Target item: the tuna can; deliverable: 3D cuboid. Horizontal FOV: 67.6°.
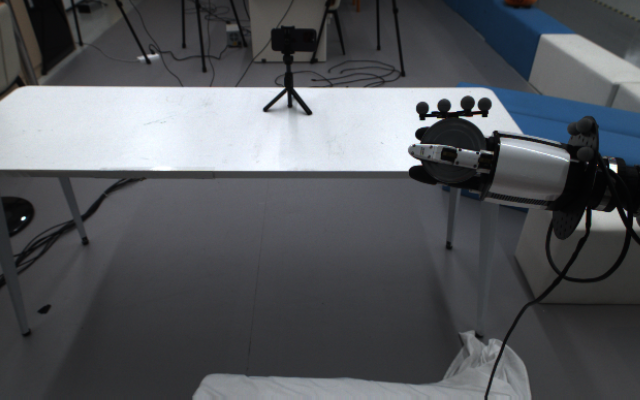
[{"bbox_3d":[0.178,-0.068,0.651,0.085,0.085,0.034,15,10,18],"label":"tuna can"}]
